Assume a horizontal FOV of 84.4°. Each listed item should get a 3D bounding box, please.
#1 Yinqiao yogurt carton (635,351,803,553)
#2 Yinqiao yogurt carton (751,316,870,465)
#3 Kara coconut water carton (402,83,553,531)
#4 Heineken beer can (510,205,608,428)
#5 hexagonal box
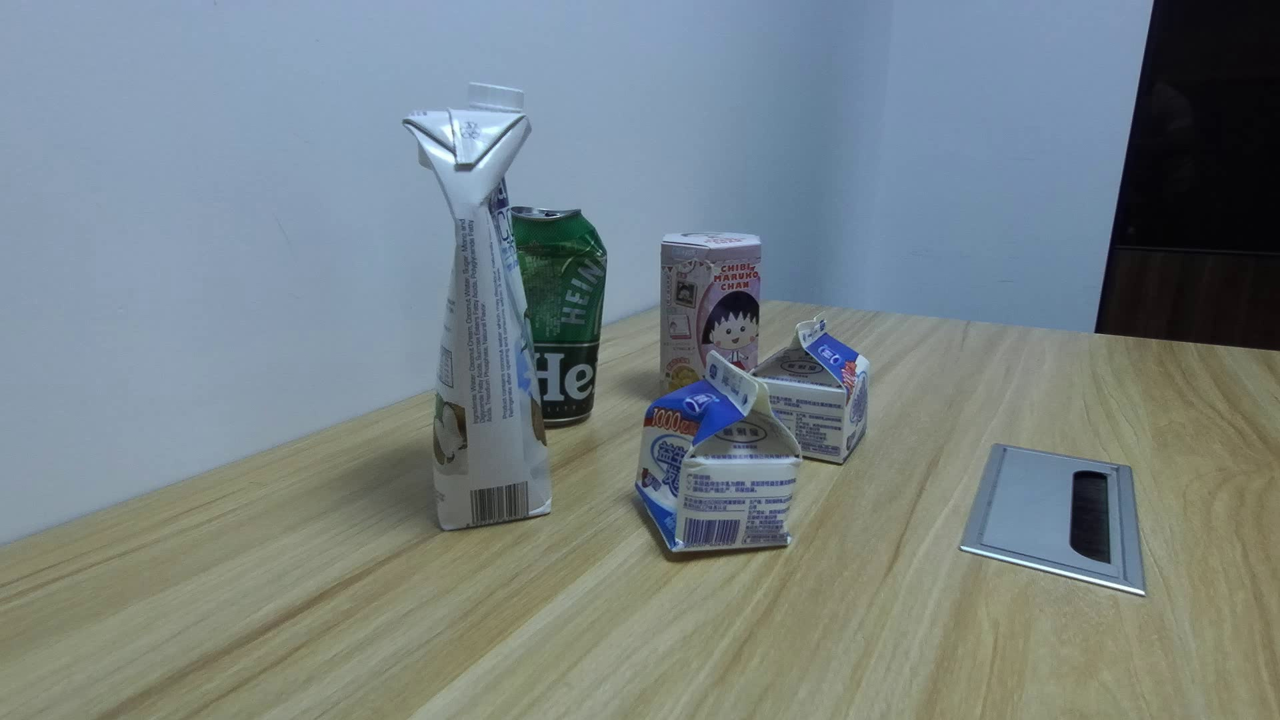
[{"bbox_3d":[0.043,0.048,0.386,0.071,0.094,0.077,1,16,-15],"label":"Yinqiao yogurt carton"},{"bbox_3d":[0.121,0.014,0.502,0.073,0.092,0.076,7,16,28],"label":"Yinqiao yogurt carton"},{"bbox_3d":[-0.088,-0.029,0.398,0.069,0.238,0.115,-3,17,-15],"label":"Kara coconut water carton"},{"bbox_3d":[-0.073,-0.033,0.544,0.077,0.164,0.066,18,25,41],"label":"Heineken beer can"},{"bbox_3d":[0.059,-0.033,0.581,0.091,0.136,0.083,-8,18,-23],"label":"hexagonal box"}]
